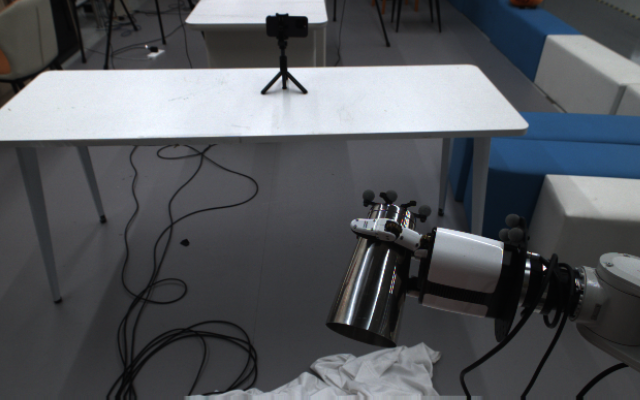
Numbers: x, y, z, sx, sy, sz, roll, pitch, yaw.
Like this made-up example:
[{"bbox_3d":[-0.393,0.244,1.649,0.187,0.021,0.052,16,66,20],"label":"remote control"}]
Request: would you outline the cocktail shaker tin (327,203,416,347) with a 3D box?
[{"bbox_3d":[0.079,0.090,0.630,0.093,0.093,0.170,12,65,14],"label":"cocktail shaker tin"}]
